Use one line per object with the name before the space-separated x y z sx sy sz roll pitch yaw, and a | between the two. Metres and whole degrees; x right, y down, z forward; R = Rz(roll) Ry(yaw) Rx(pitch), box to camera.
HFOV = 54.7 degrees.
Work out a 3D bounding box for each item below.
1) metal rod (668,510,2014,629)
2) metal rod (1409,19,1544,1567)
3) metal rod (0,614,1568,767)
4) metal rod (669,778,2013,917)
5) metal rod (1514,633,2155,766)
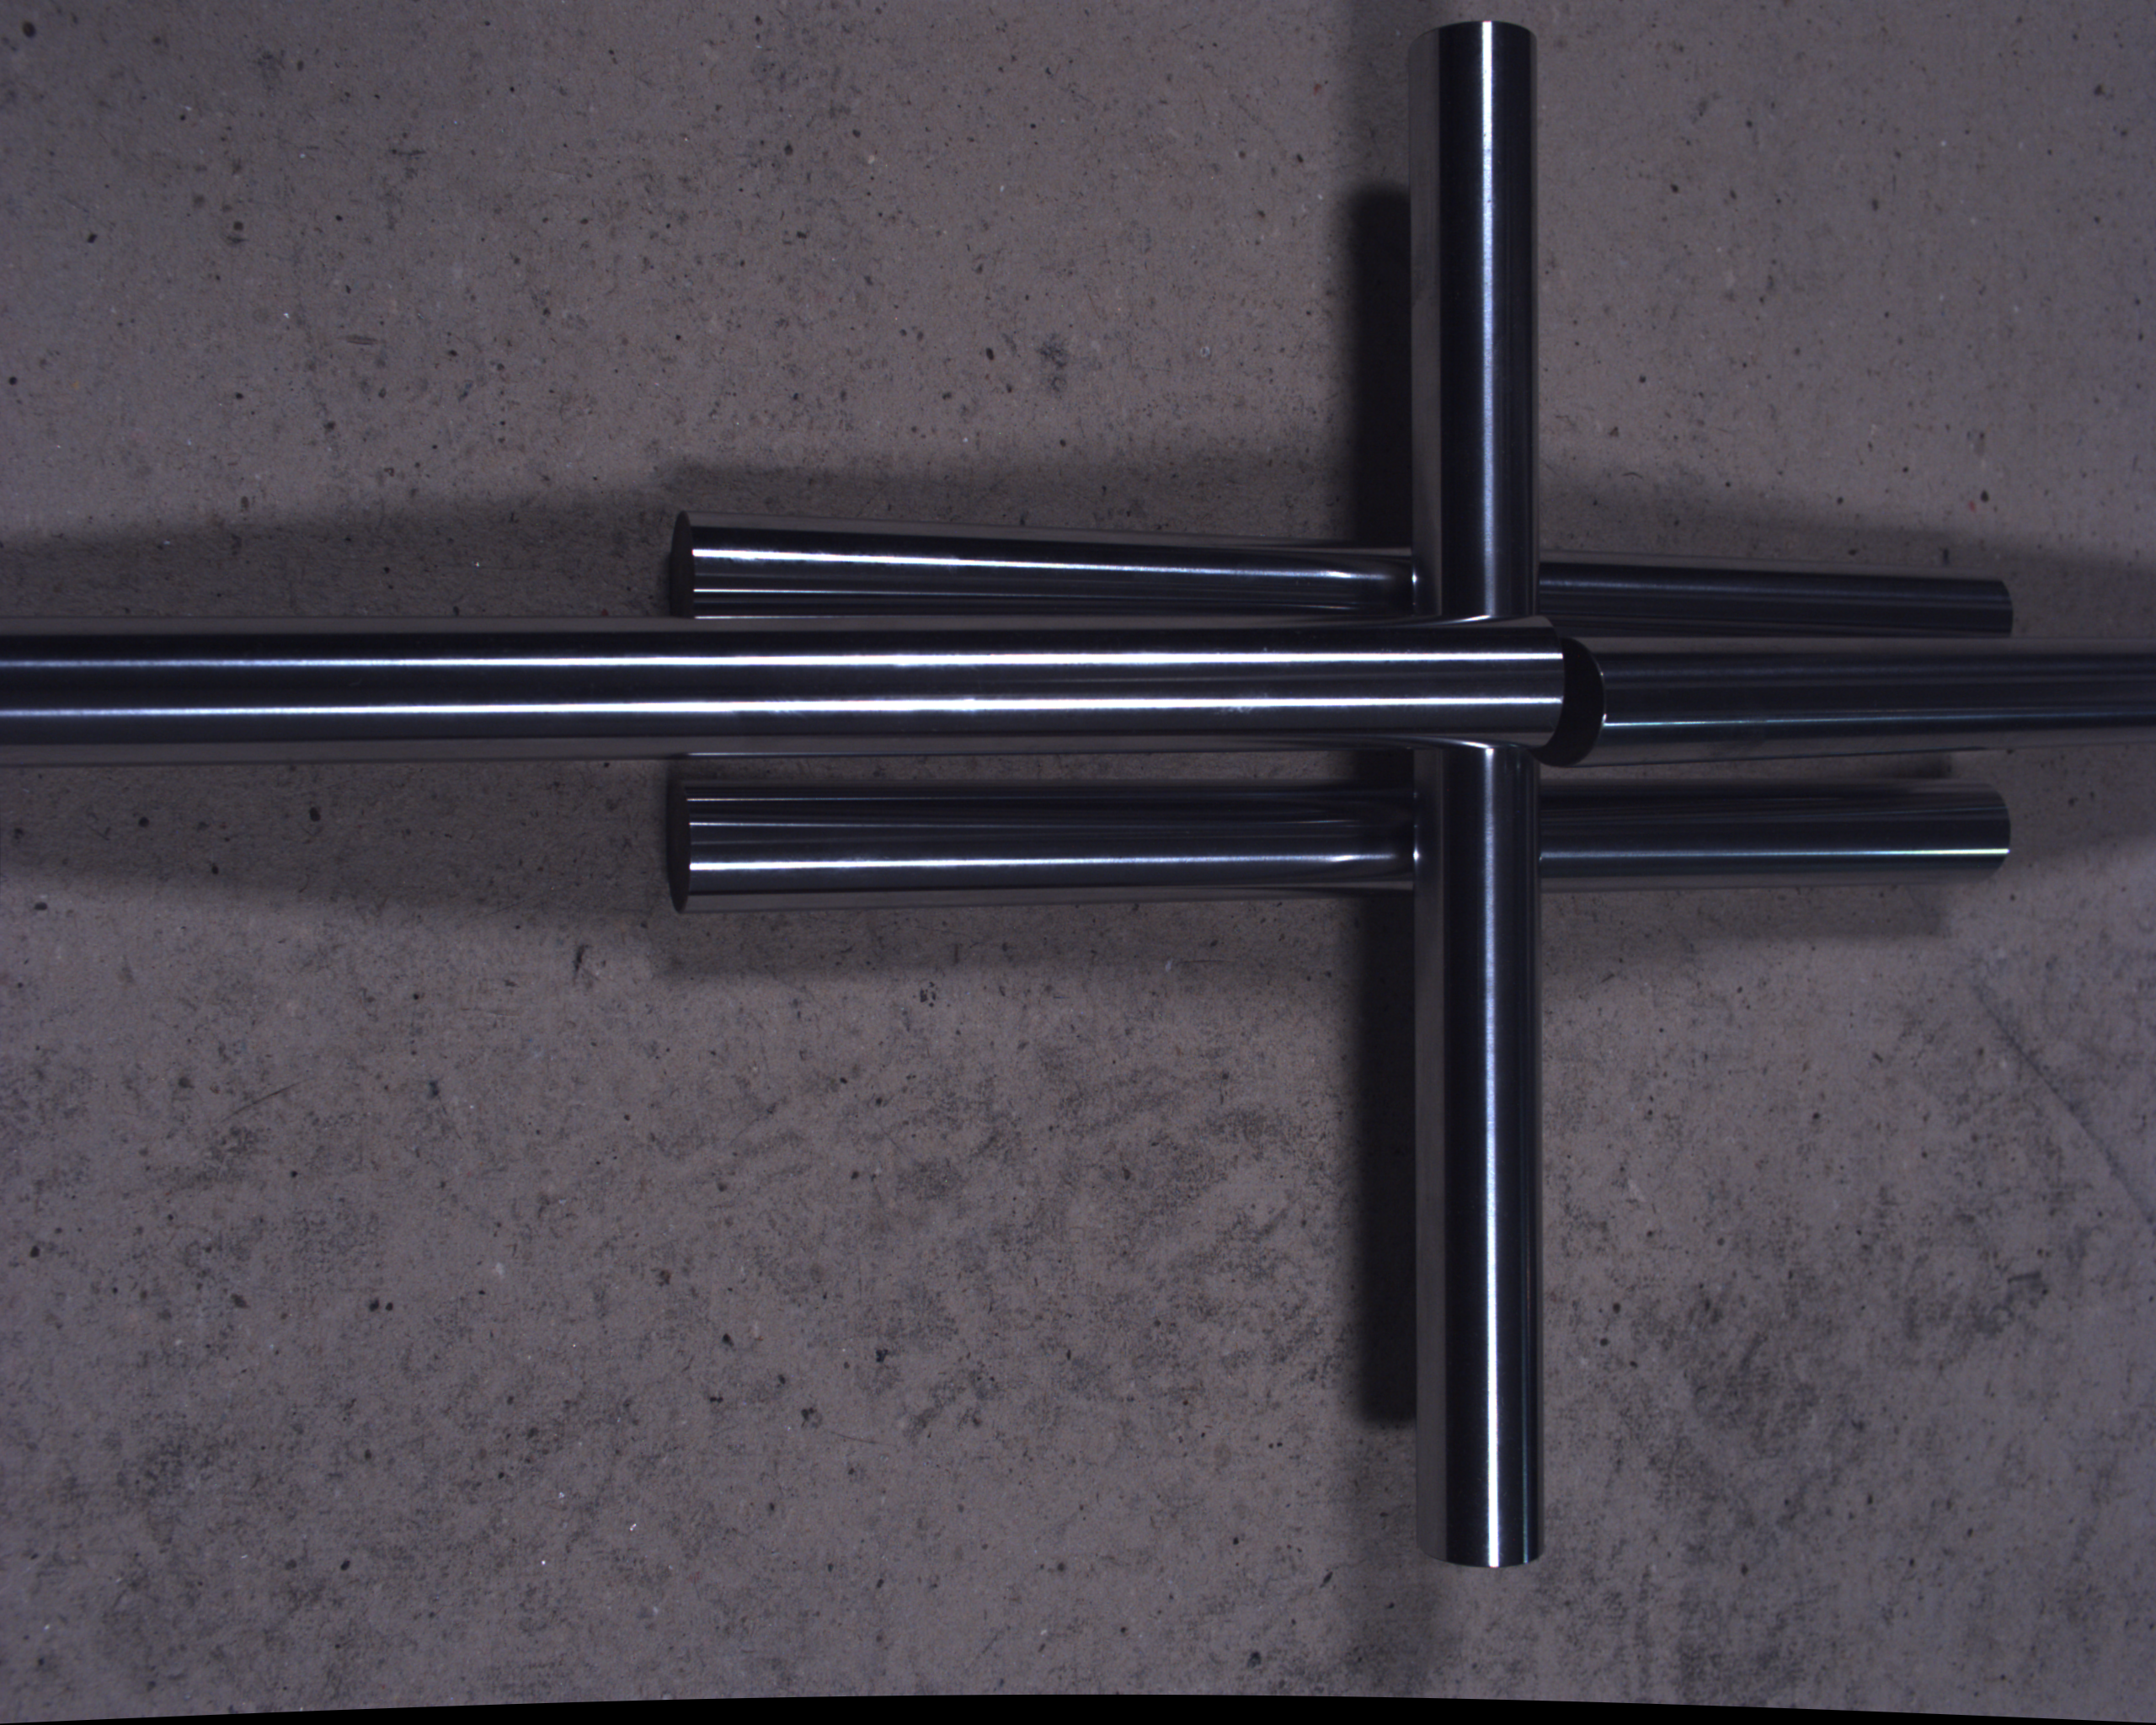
metal rod | 0.068 -0.055 0.436 0.303 0.025 0.025 -1 91 -21
metal rod | 0.079 -0.013 0.414 0.025 0.025 0.298 0 90 -20
metal rod | -0.062 -0.030 0.361 0.302 0.025 0.025 -1 91 -11
metal rod | 0.068 -0.005 0.436 0.303 0.025 0.025 -1 91 -21
metal rod | 0.220 -0.039 0.467 0.303 0.025 0.025 -4 92 -30
